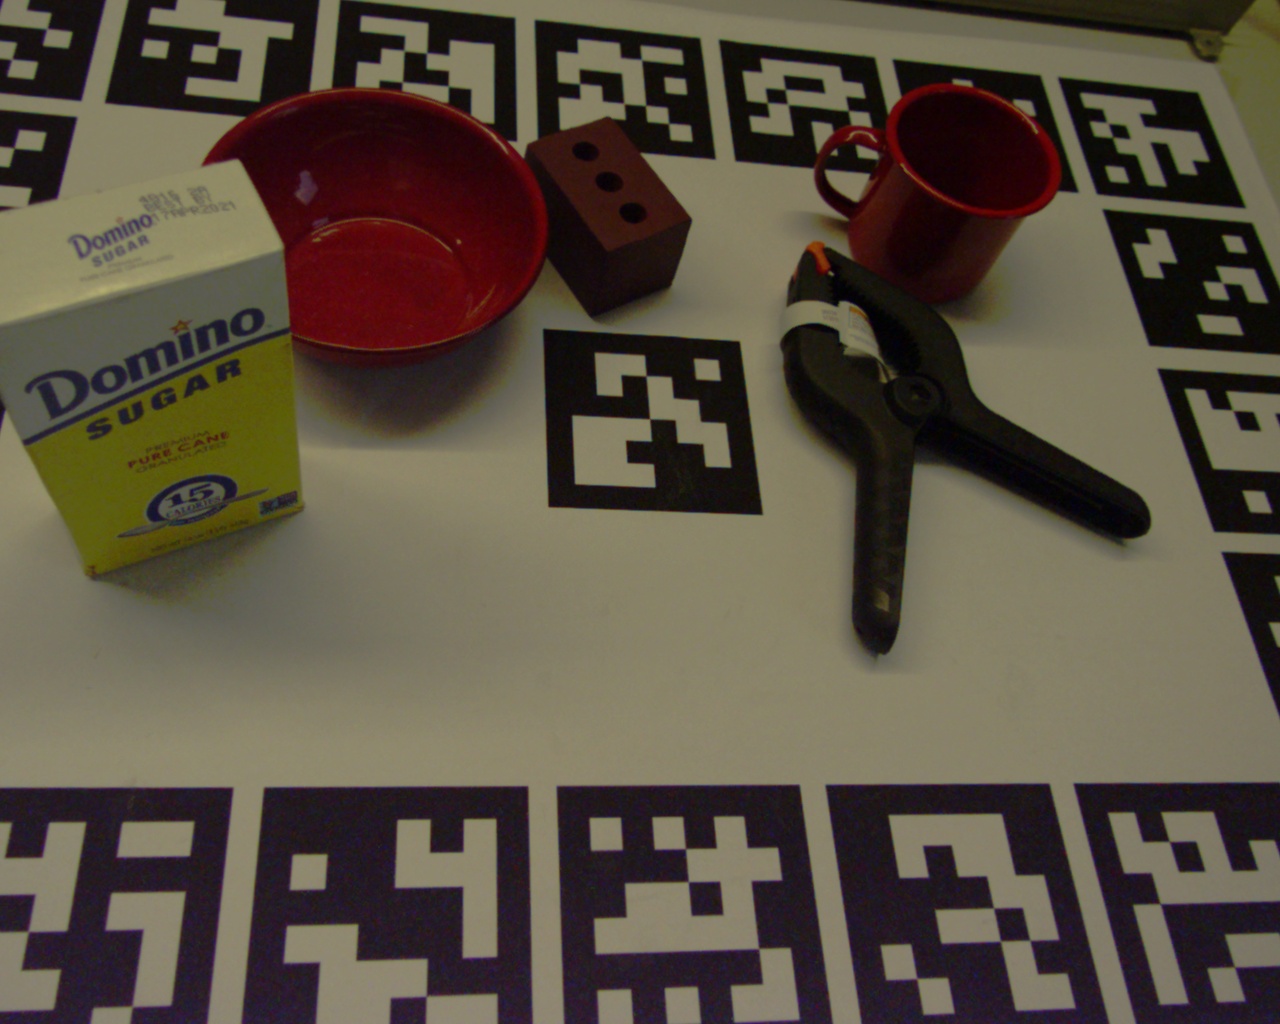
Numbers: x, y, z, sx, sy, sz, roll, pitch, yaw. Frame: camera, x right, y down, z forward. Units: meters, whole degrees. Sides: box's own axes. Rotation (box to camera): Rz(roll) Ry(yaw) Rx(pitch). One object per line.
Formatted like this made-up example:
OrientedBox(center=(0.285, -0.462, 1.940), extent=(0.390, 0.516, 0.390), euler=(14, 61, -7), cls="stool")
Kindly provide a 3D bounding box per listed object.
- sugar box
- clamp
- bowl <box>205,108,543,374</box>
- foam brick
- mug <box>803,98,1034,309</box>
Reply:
OrientedBox(center=(-0.182, -0.036, 0.448), extent=(0.092, 0.177, 0.045), euler=(-22, 72, -23), cls="sugar box")
OrientedBox(center=(0.121, -0.052, 0.591), extent=(0.164, 0.037, 0.204), euler=(-22, 70, -19), cls="clamp")
OrientedBox(center=(-0.132, -0.126, 0.575), extent=(0.161, 0.055, 0.162), euler=(5, 62, -10), cls="bowl")
OrientedBox(center=(-0.022, -0.144, 0.616), extent=(0.052, 0.051, 0.078), euler=(-25, 71, -22), cls="foam brick")
OrientedBox(center=(0.146, -0.173, 0.639), extent=(0.117, 0.082, 0.093), euler=(25, 60, -2), cls="mug")
